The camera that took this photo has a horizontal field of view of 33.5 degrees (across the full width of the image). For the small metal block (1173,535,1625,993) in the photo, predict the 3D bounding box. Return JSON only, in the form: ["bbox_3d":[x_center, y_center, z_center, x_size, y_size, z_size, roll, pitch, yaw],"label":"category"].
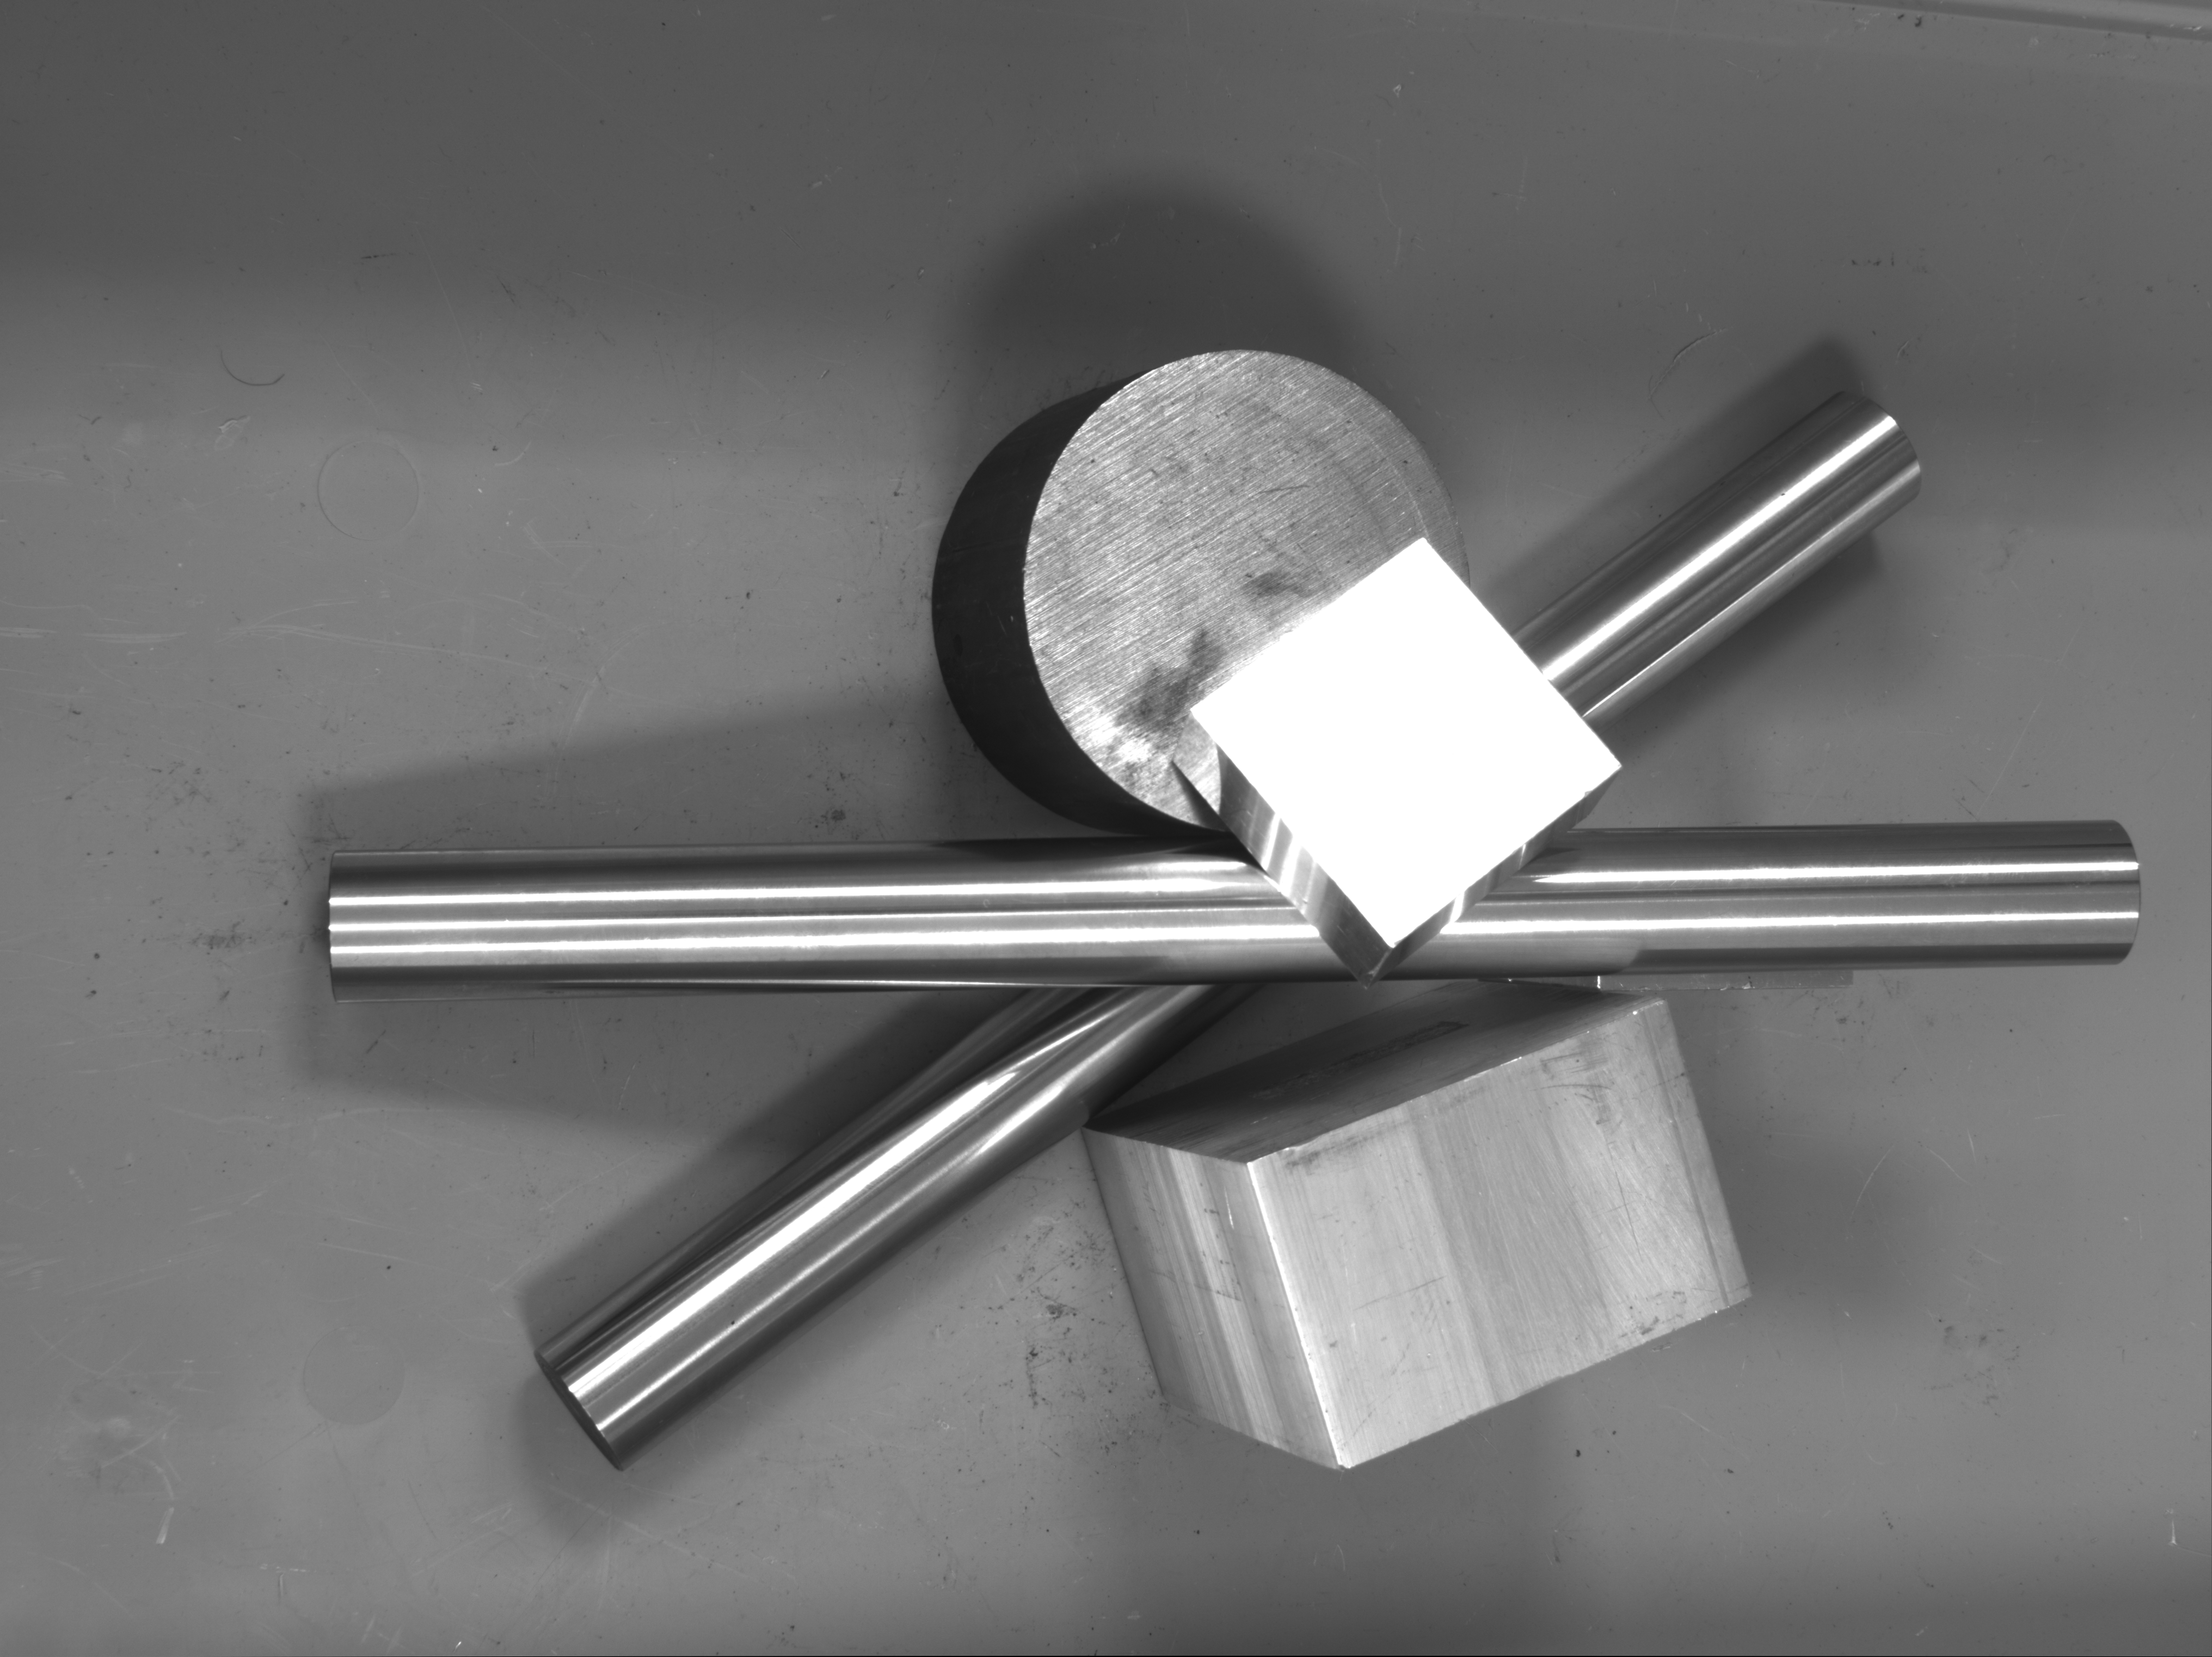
[{"bbox_3d":[0.047,-0.011,0.597,0.050,0.025,0.050,-37,79,-16],"label":"small metal block"}]

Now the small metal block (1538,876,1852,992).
[{"bbox_3d":[0.100,0.016,0.665,0.050,0.050,0.025,0,90,-19],"label":"small metal block"}]

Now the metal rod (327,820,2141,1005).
[{"bbox_3d":[0.024,0.014,0.614,0.300,0.025,0.025,-1,90,-7],"label":"metal rod"}]

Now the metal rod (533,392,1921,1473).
[{"bbox_3d":[0.029,0.013,0.653,0.300,0.025,0.025,-36,101,-16],"label":"metal rod"}]

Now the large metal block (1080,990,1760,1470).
[{"bbox_3d":[0.052,0.066,0.631,0.080,0.080,0.050,-19,96,-19],"label":"large metal block"}]

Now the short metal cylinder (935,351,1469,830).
[{"bbox_3d":[0.016,-0.039,0.635,0.080,0.050,0.080,0,89,-20],"label":"short metal cylinder"}]
